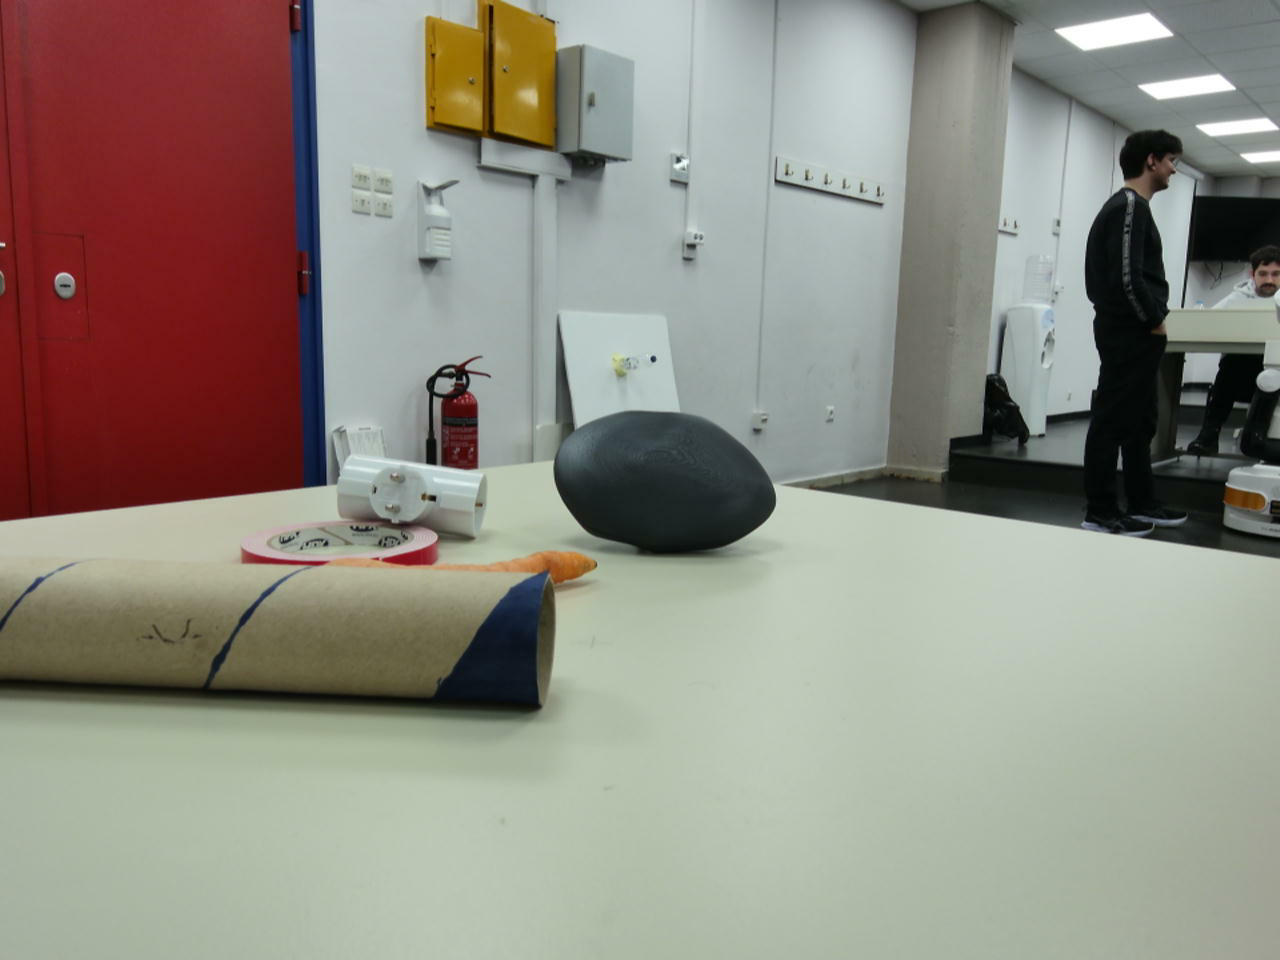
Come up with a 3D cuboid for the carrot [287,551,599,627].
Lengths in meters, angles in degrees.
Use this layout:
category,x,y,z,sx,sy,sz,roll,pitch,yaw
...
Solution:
category,x,y,z,sx,sy,sz,roll,pitch,yaw
carrot,-0.088,0.048,0.496,0.173,0.032,0.030,-6,8,-39
